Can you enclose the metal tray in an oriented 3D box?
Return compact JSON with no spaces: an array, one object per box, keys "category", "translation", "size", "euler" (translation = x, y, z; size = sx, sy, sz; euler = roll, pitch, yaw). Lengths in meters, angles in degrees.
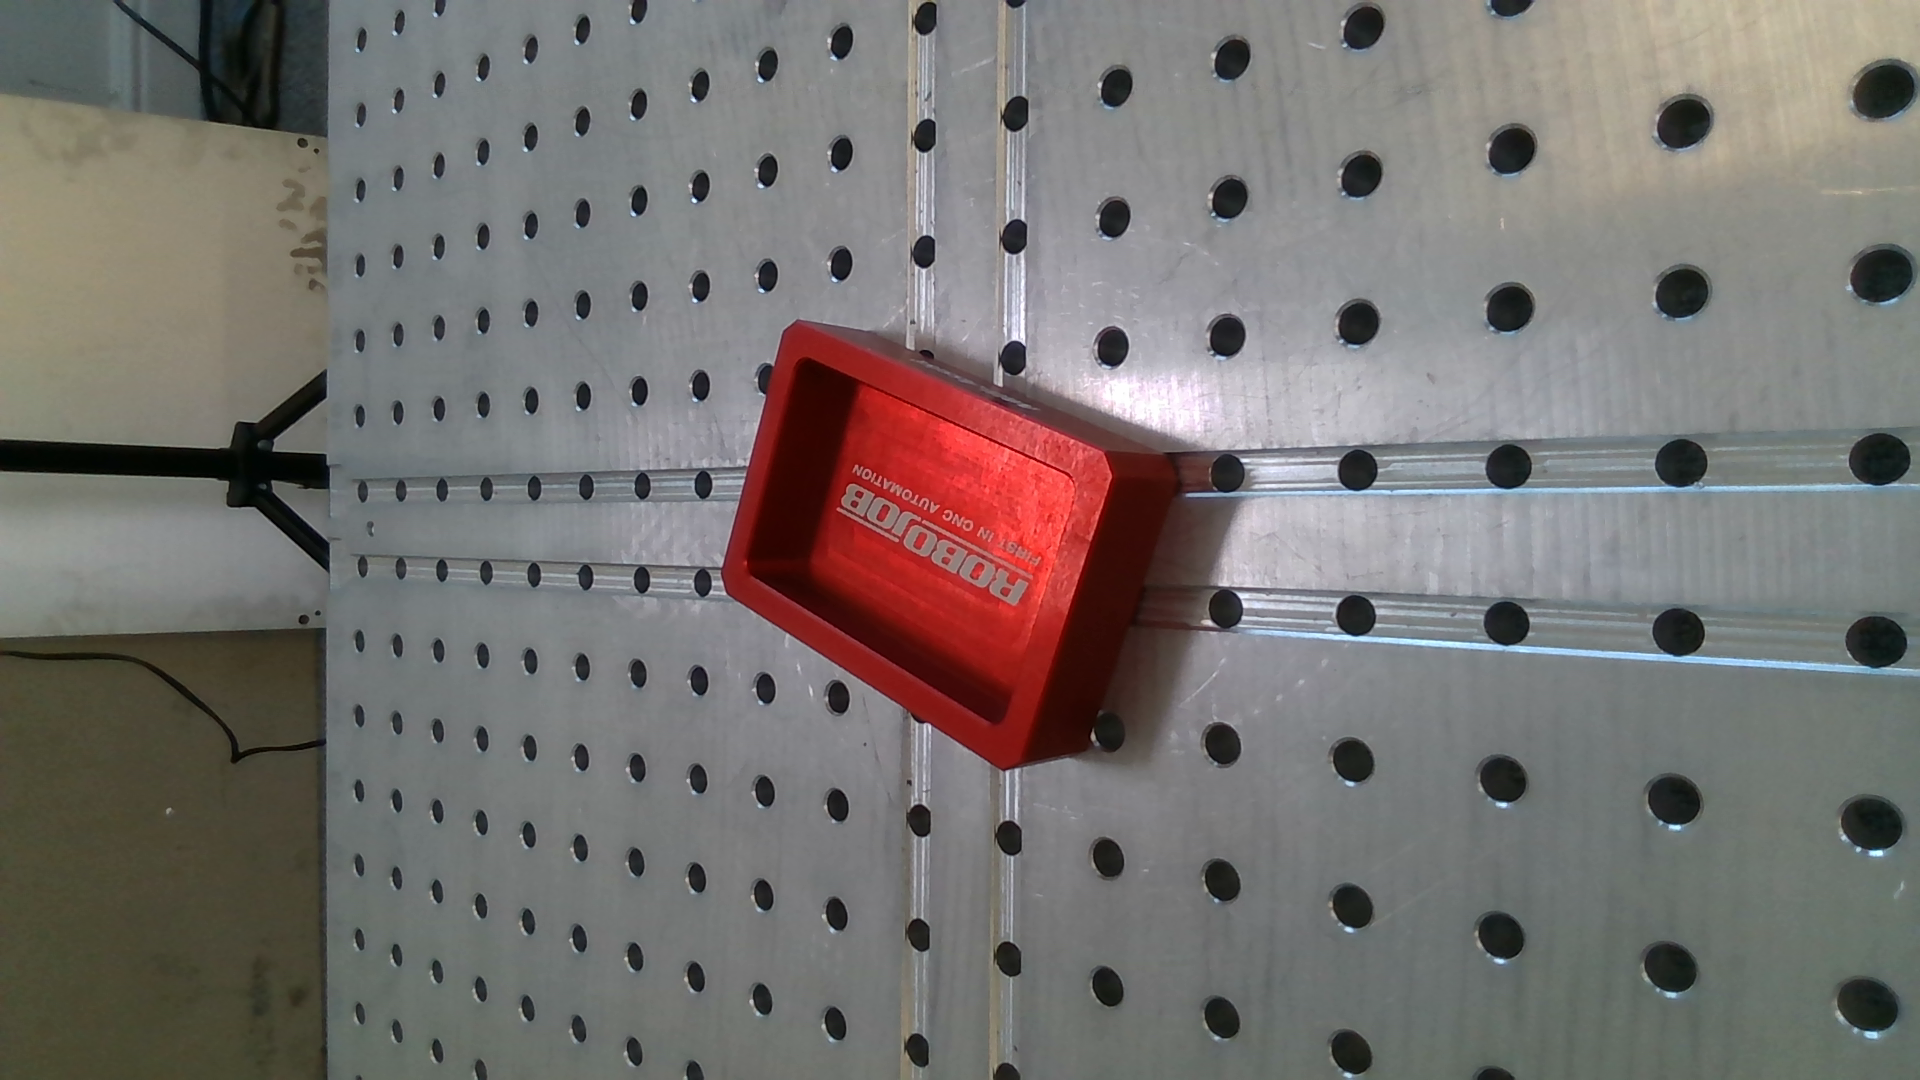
[{"category":"metal tray","translation":[-0.010,-0.003,0.398],"size":[0.130,0.030,0.090],"euler":[27,108,37]}]
